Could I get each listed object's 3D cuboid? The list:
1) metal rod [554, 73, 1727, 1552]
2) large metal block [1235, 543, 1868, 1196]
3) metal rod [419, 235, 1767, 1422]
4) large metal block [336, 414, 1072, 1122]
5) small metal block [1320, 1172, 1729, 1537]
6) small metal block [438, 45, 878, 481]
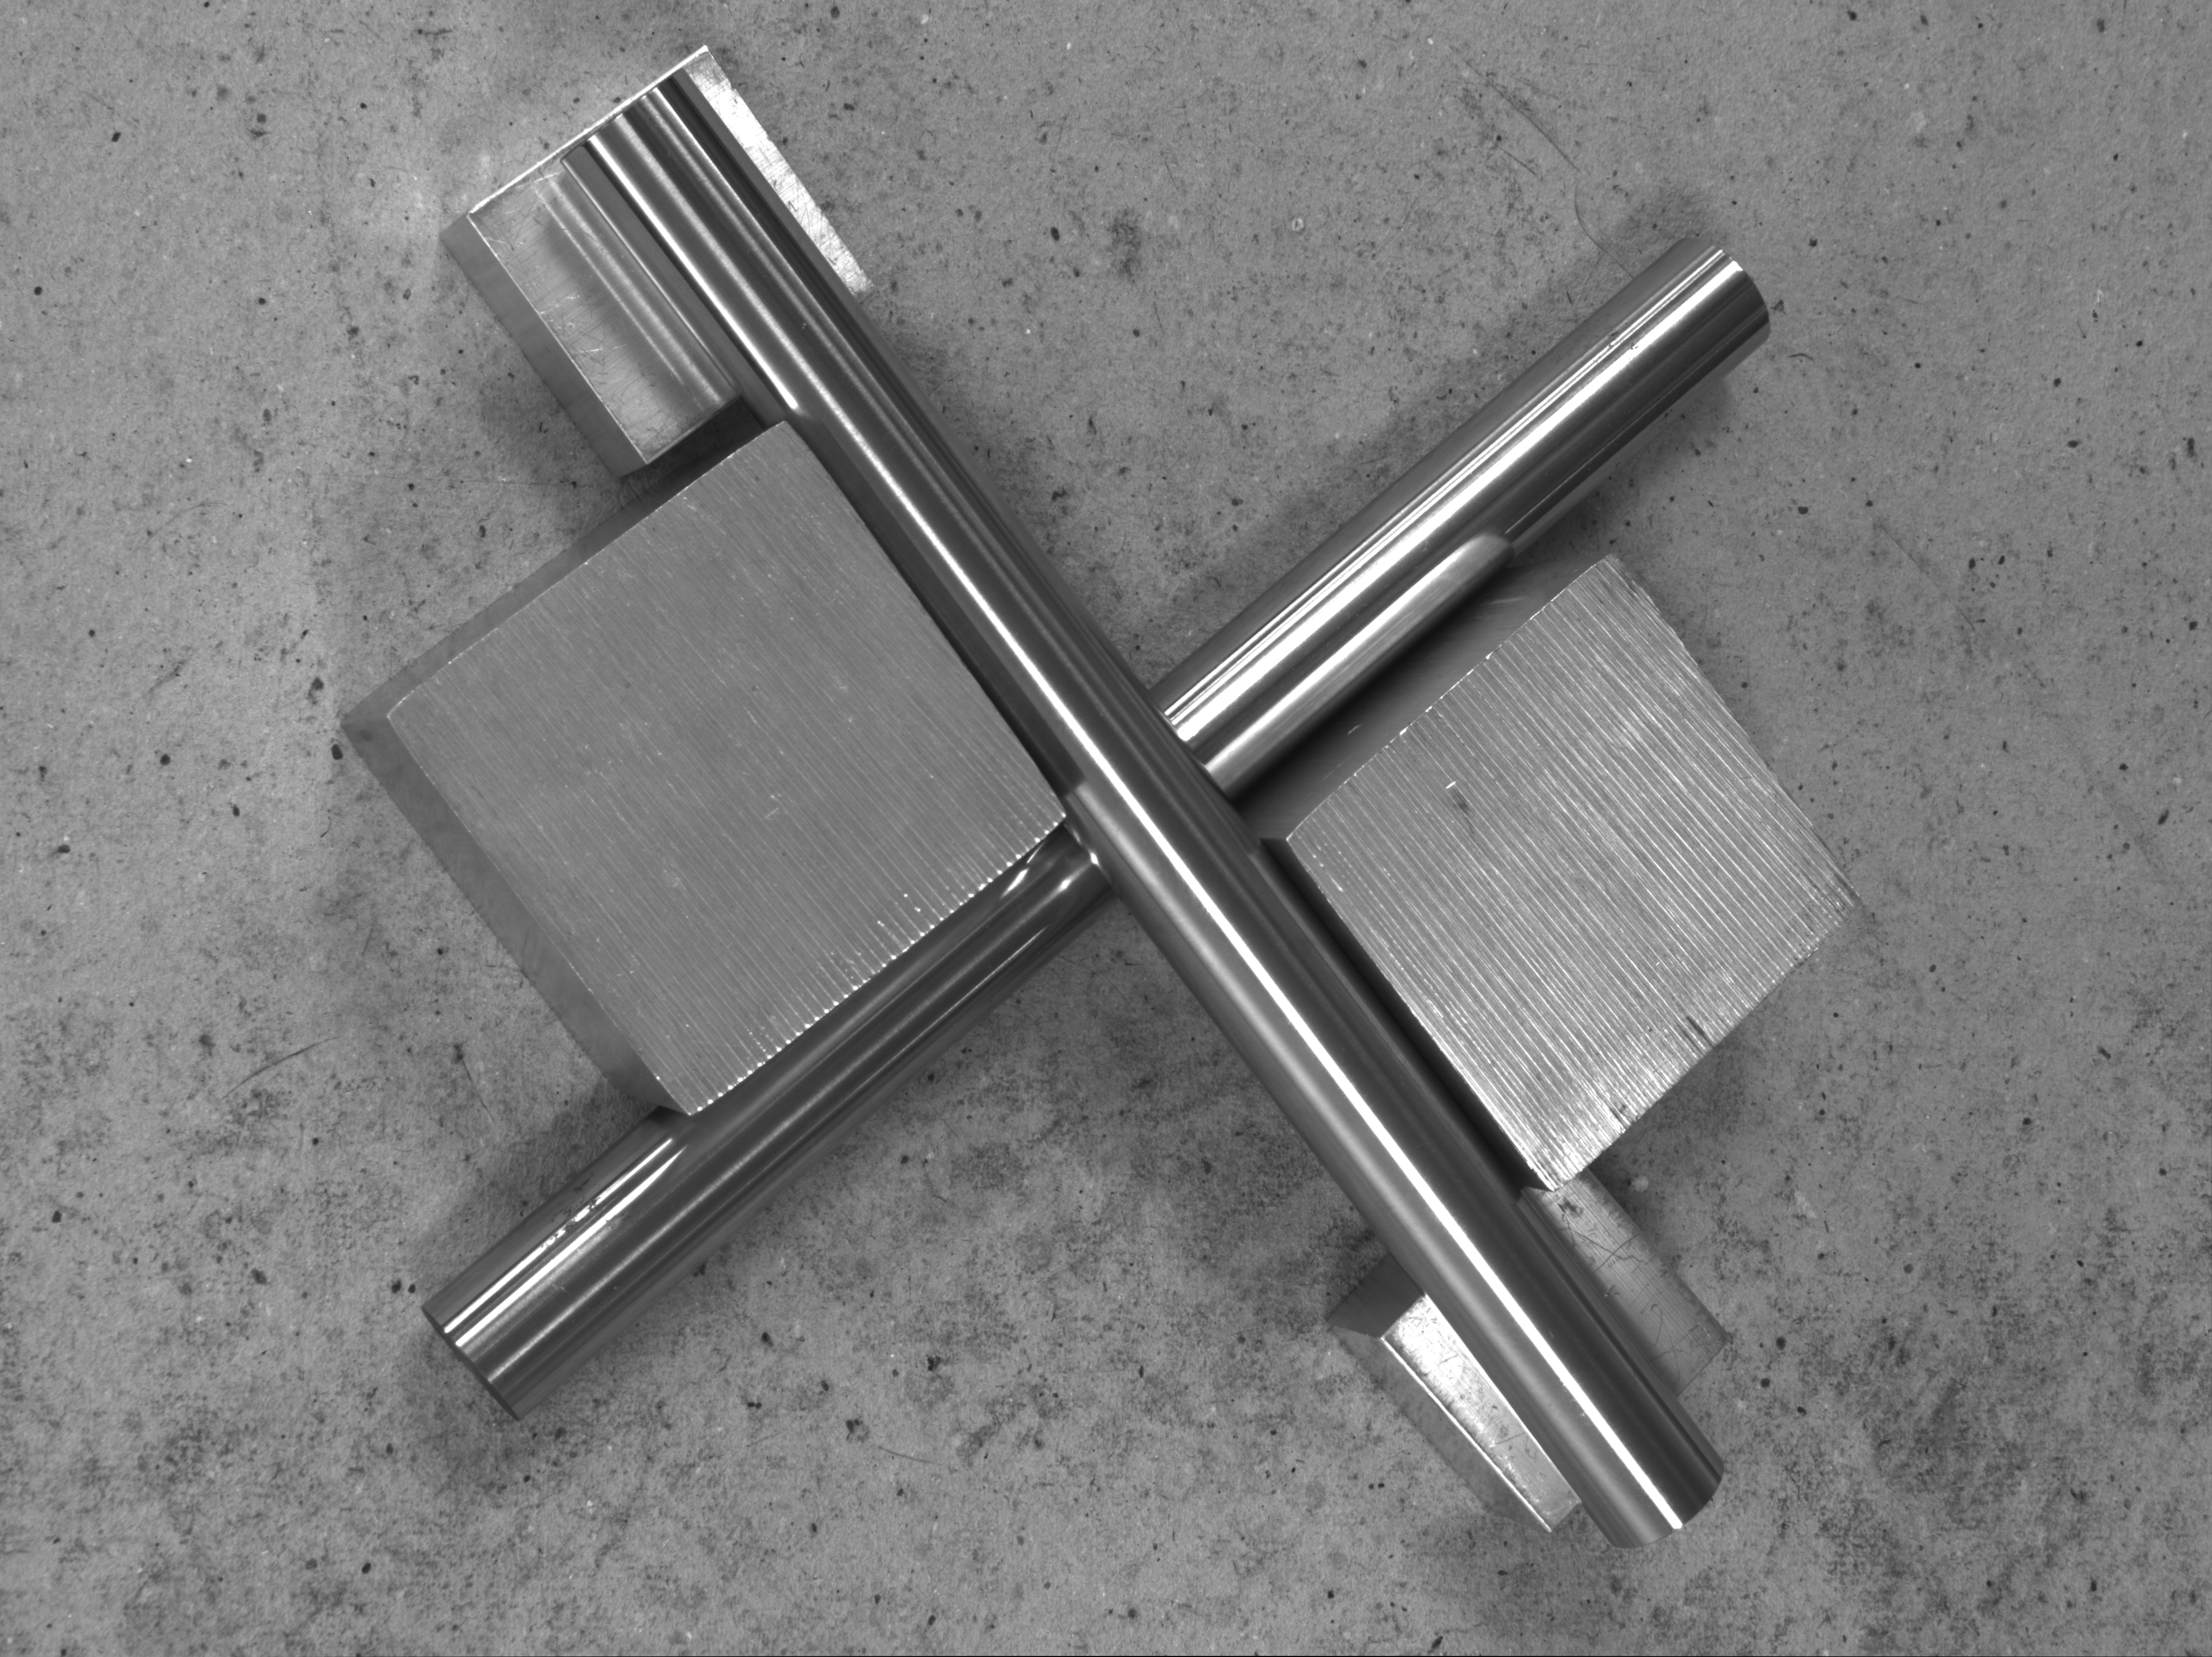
[{"bbox_3d":[0.011,0.003,0.620,0.025,0.025,0.300,-41,103,-15],"label":"metal rod"},{"bbox_3d":[0.074,0.007,0.657,0.080,0.050,0.080,-41,103,-15],"label":"large metal block"},{"bbox_3d":[0.004,-0.006,0.646,0.300,0.025,0.025,-41,103,-15],"label":"metal rod"},{"bbox_3d":[-0.067,-0.010,0.604,0.080,0.050,0.080,-39,102,-16],"label":"large metal block"},{"bbox_3d":[0.077,0.092,0.672,0.050,0.025,0.050,-45,104,-14],"label":"small metal block"},{"bbox_3d":[-0.076,-0.094,0.617,0.050,0.025,0.050,-39,102,-16],"label":"small metal block"}]
